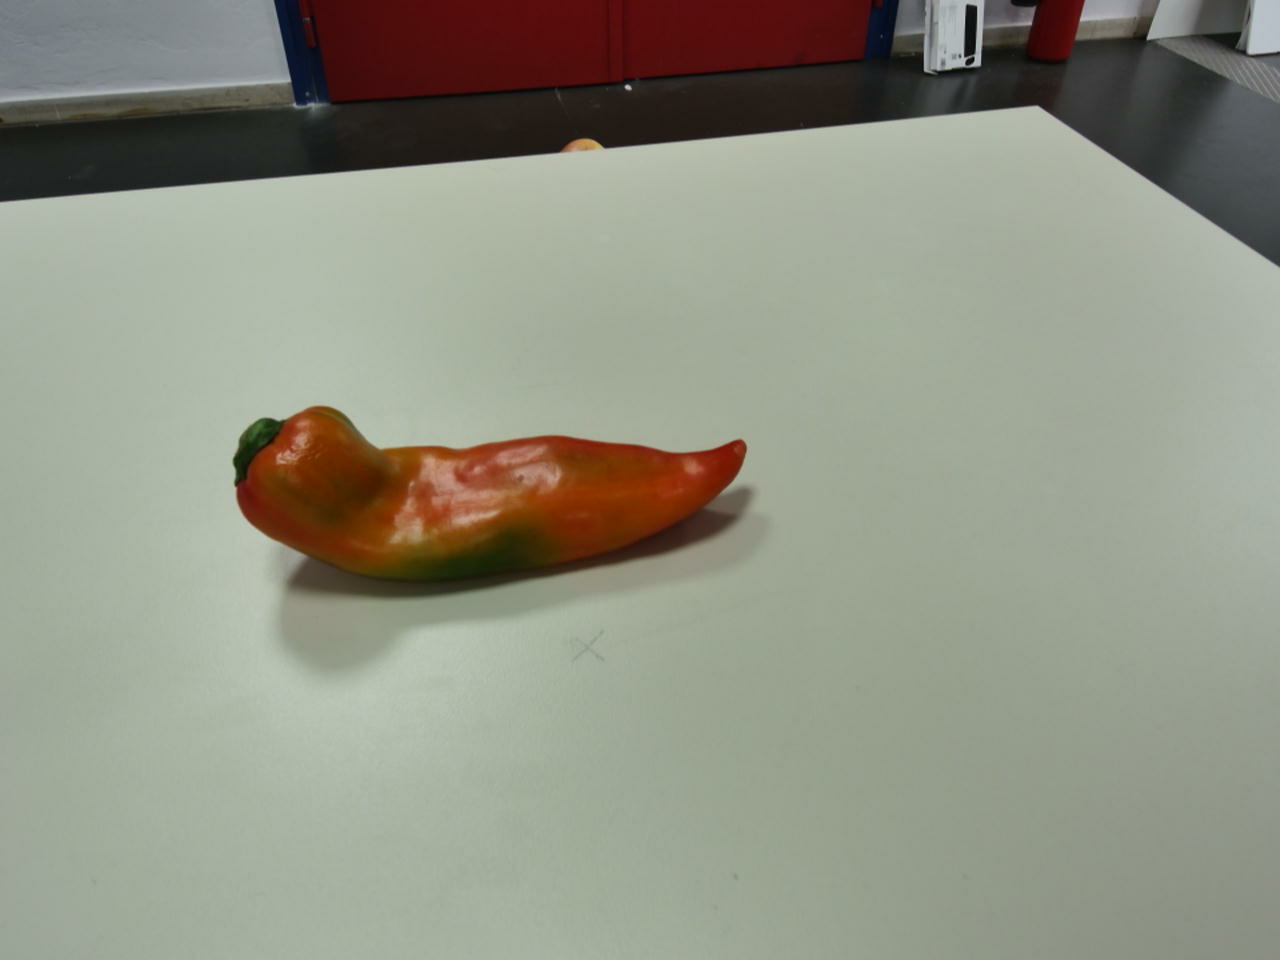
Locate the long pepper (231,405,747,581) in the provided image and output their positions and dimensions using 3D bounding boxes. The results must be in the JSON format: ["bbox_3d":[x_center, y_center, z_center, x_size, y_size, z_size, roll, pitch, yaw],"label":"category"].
[{"bbox_3d":[-0.053,-0.003,0.393,0.199,0.065,0.066,-5,39,-7],"label":"long pepper"}]
